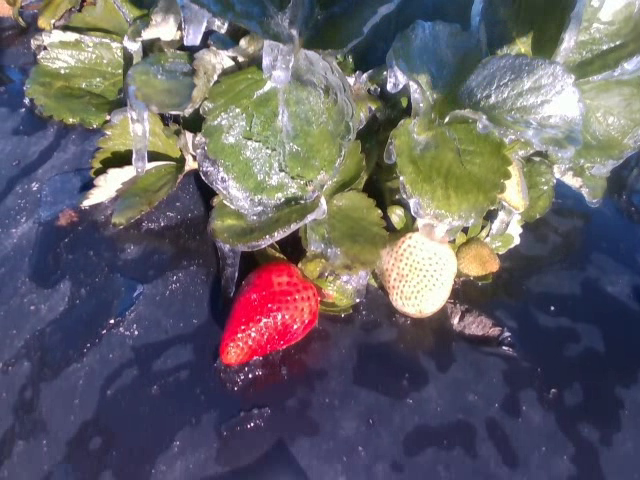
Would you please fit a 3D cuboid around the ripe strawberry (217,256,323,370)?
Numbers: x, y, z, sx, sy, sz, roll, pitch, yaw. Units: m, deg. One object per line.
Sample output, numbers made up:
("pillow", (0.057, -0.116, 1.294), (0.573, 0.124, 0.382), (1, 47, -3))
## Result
("ripe strawberry", (-0.026, 0.029, 0.262), (0.041, 0.052, 0.040), (31, -26, 24))
